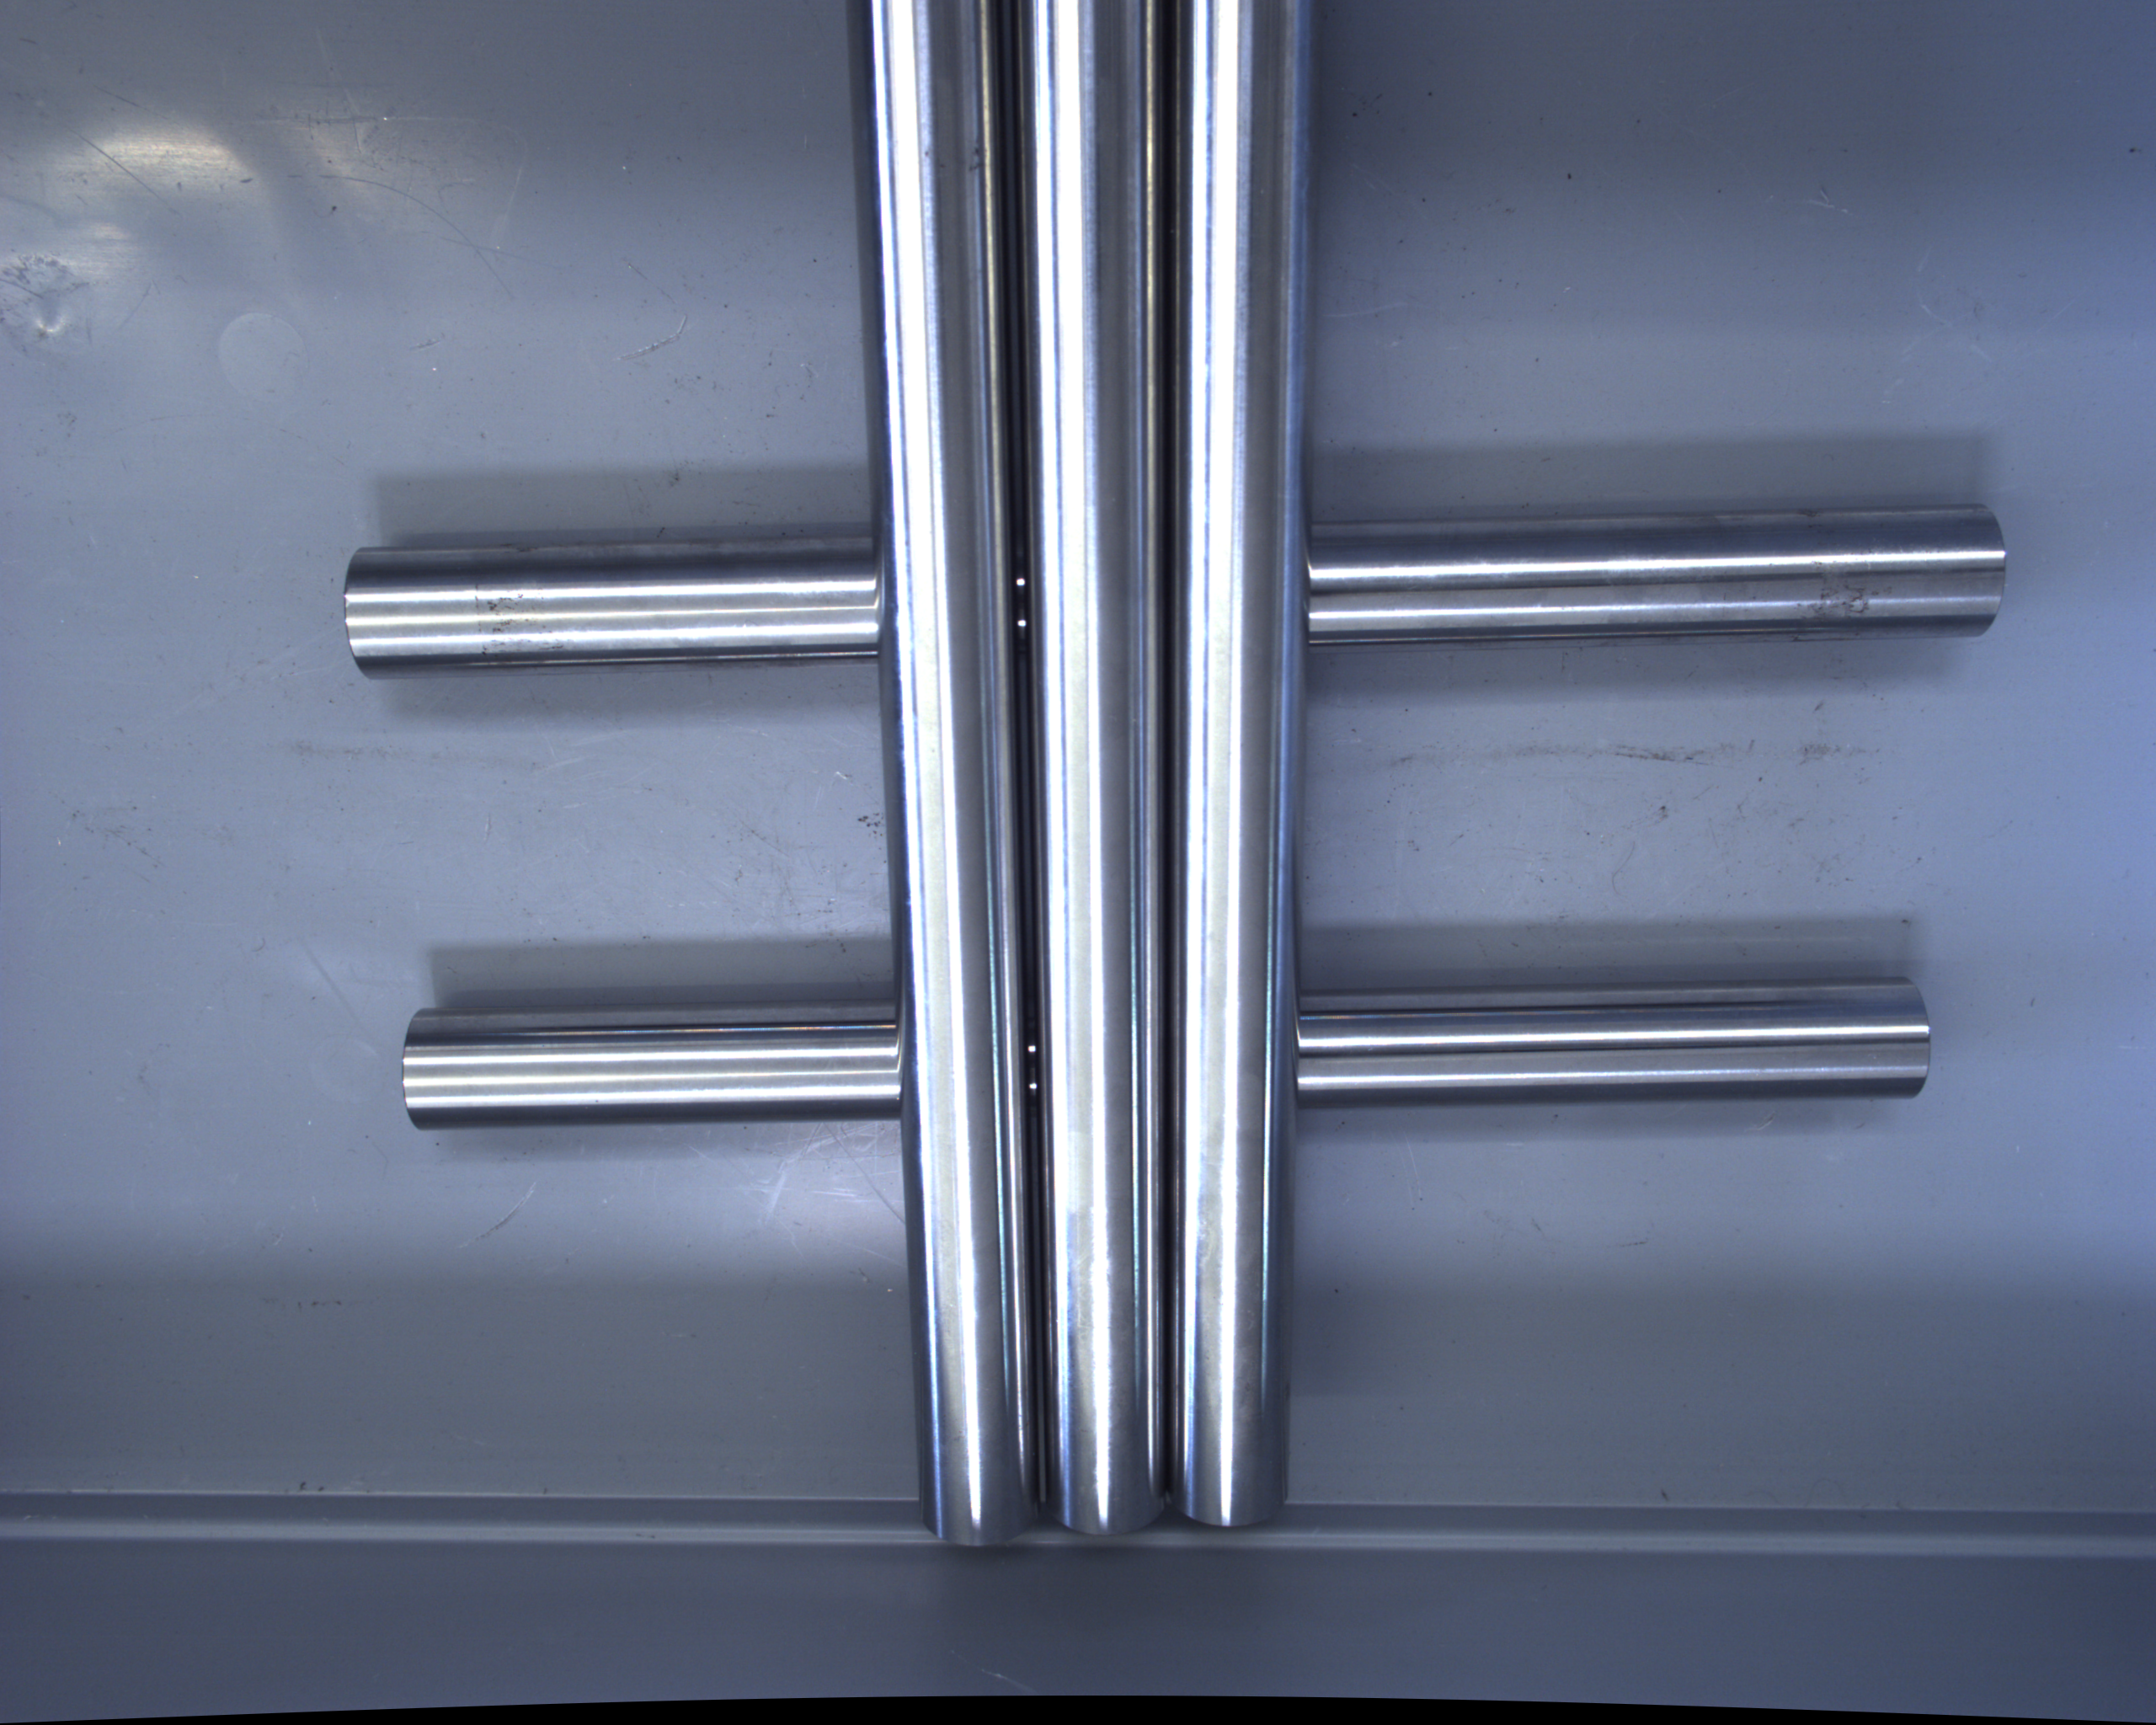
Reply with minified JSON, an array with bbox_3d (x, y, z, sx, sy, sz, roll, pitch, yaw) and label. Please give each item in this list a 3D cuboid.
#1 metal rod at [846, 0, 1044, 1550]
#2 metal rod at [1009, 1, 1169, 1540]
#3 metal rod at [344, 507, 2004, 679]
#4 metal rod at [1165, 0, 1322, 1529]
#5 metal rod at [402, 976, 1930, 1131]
[{"bbox_3d":[-0.022,-0.006,0.380,0.025,0.025,0.298,-1,110,0],"label":"metal rod"},{"bbox_3d":[0.004,-0.008,0.379,0.025,0.025,0.298,-1,110,0],"label":"metal rod"},{"bbox_3d":[0.018,-0.051,0.392,0.302,0.025,0.025,-1,110,0],"label":"metal rod"},{"bbox_3d":[0.028,-0.010,0.379,0.025,0.025,0.298,-1,110,0],"label":"metal rod"},{"bbox_3d":[0.018,0.039,0.425,0.302,0.025,0.025,-1,110,0],"label":"metal rod"}]
